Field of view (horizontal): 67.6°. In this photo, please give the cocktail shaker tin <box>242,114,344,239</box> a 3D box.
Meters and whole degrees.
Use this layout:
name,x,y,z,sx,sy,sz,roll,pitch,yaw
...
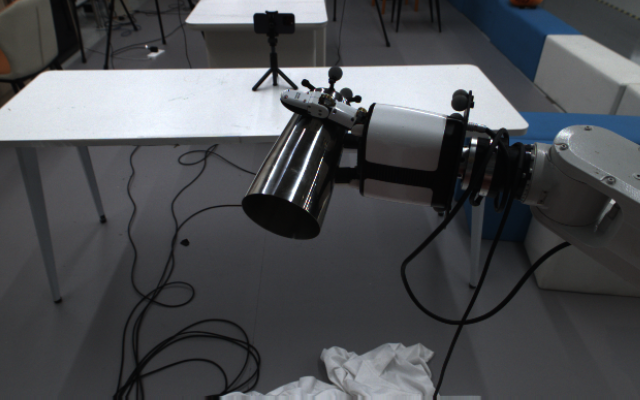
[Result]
name,x,y,z,sx,sy,sz,roll,pitch,yaw
cocktail shaker tin,-0.016,-0.052,0.570,0.093,0.093,0.170,13,59,16
